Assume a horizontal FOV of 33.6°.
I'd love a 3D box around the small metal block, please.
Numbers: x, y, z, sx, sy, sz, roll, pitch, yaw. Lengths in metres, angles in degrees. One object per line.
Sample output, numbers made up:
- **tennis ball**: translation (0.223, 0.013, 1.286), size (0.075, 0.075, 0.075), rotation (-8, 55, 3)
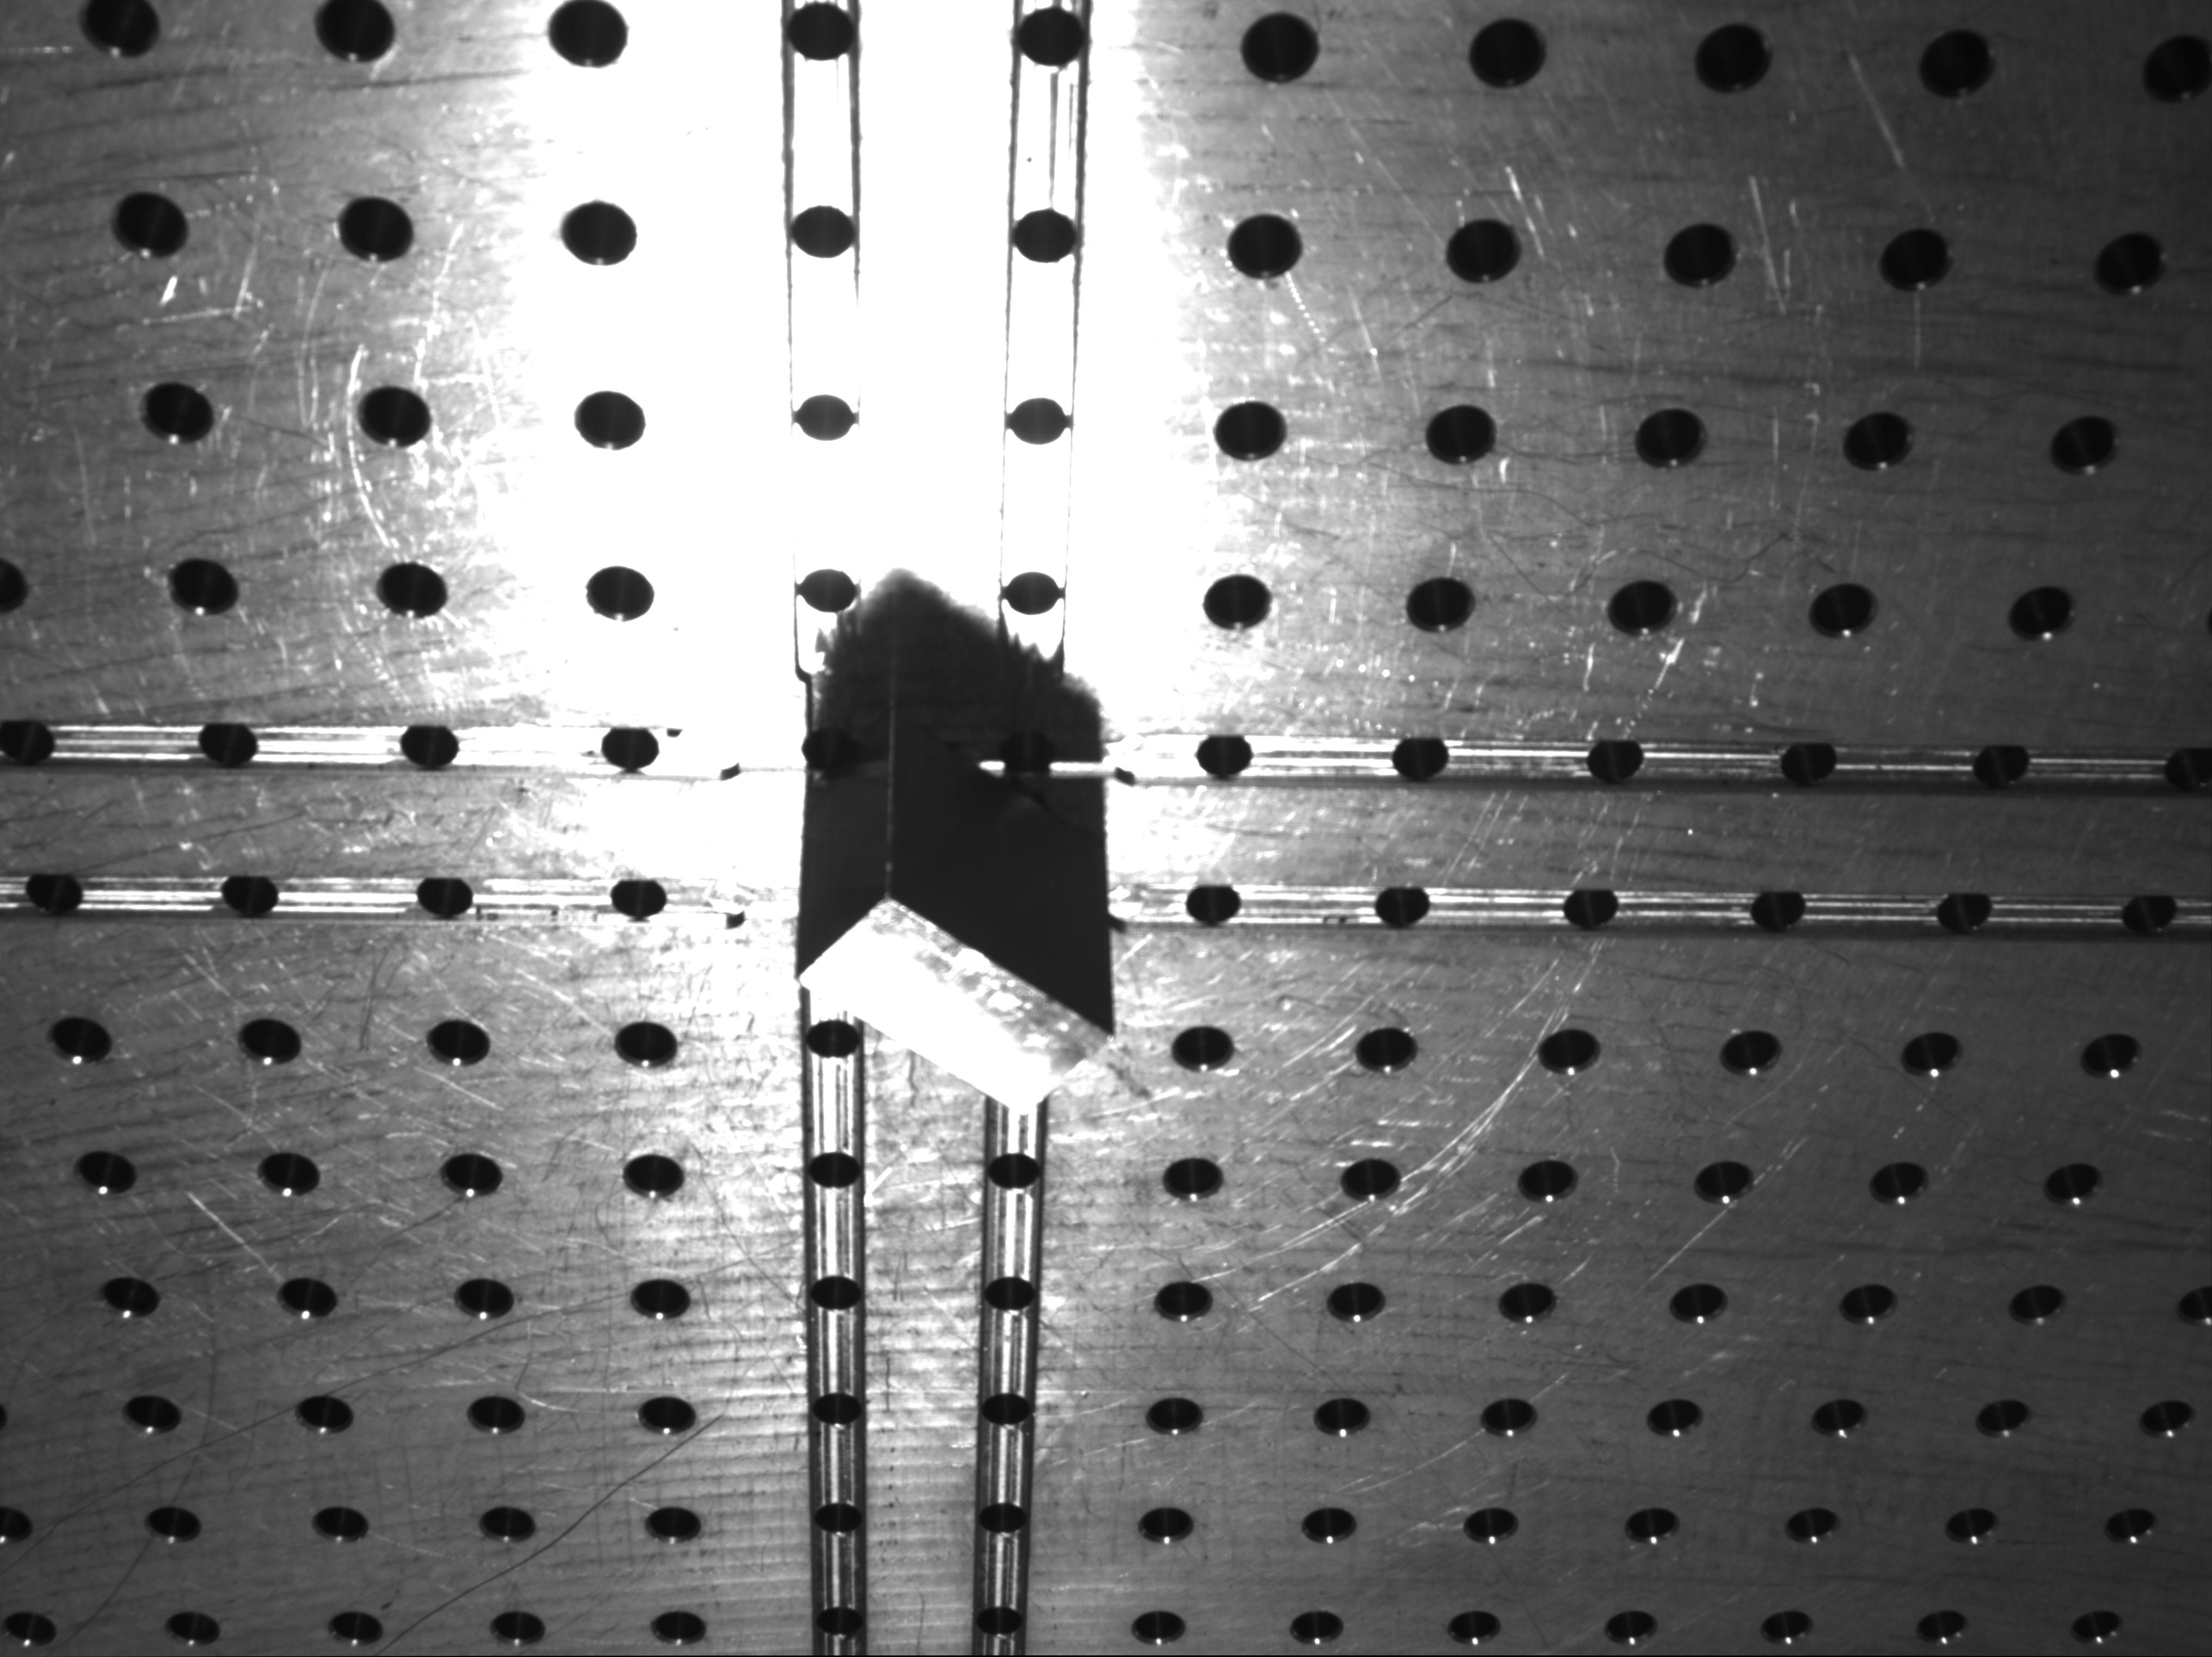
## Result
- **small metal block**: translation (-0.018, 0.015, 0.637), size (0.050, 0.050, 0.025), rotation (33, 122, -26)
